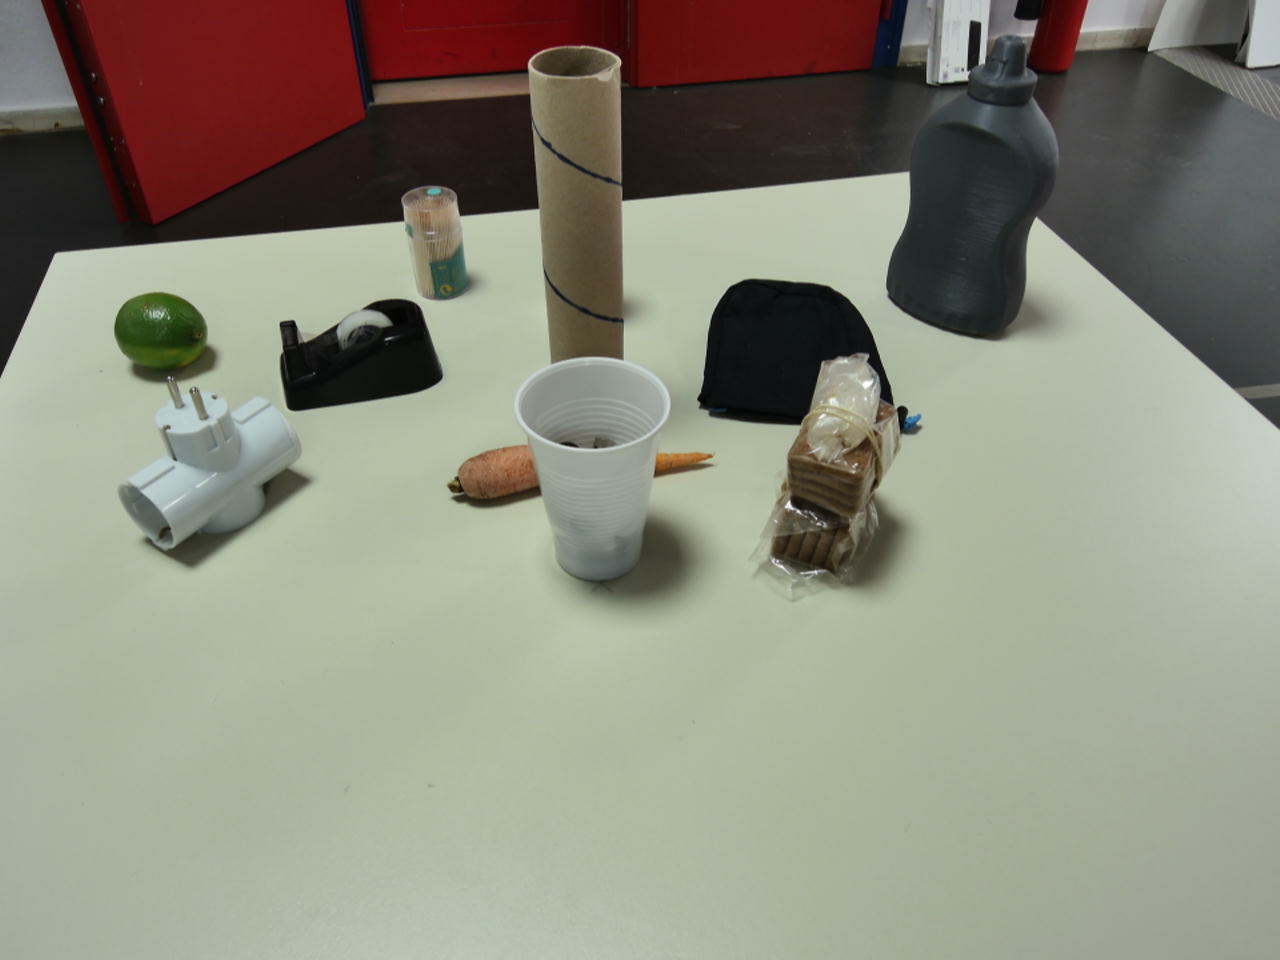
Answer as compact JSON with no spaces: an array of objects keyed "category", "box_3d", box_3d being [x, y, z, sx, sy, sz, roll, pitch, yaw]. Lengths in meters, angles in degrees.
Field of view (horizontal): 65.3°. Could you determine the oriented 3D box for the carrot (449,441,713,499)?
[{"category":"carrot","box_3d":[-0.036,-0.011,0.613,0.163,0.029,0.031,-8,40,-10]}]
